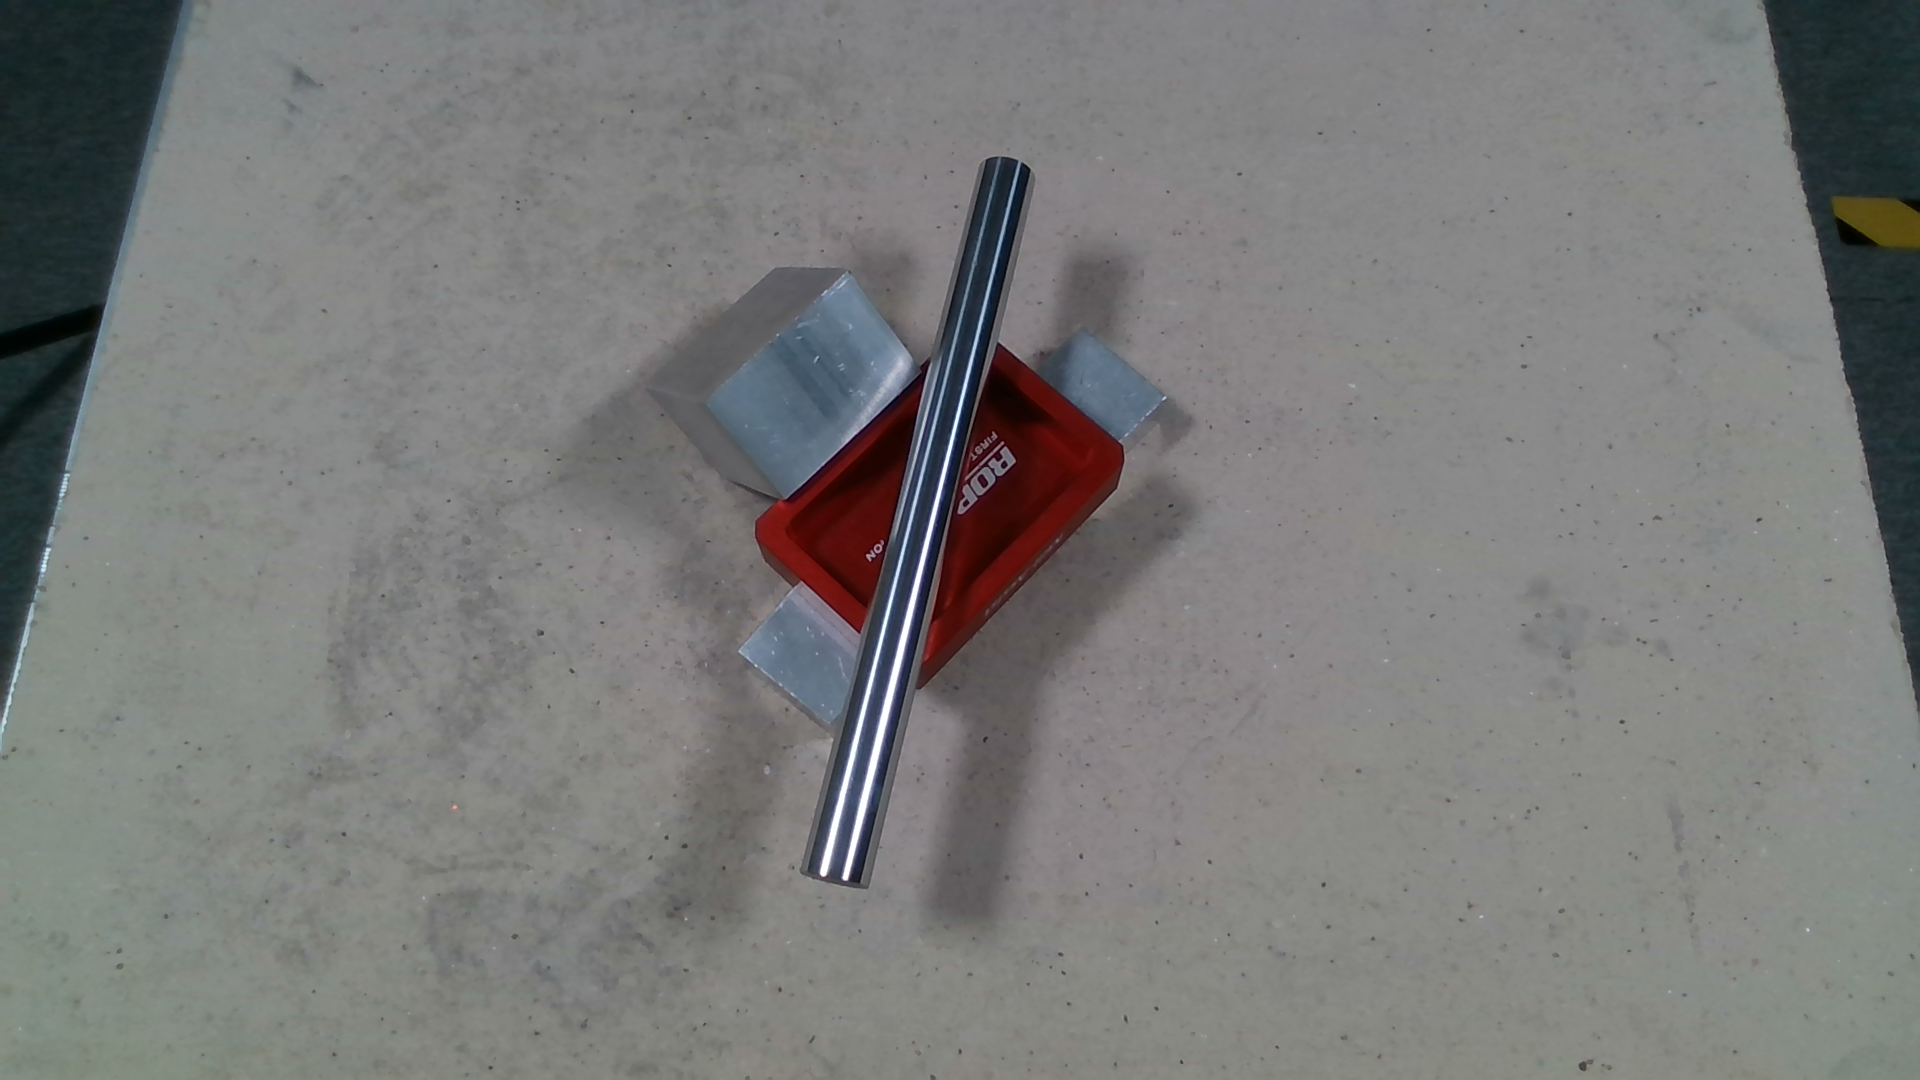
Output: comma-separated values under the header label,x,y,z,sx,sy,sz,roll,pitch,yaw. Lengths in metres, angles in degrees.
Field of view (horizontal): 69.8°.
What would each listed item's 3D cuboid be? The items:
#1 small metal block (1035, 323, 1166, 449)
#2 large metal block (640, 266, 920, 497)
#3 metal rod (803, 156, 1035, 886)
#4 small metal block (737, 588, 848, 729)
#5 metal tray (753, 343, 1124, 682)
label,x,y,z,sx,sy,sz,roll,pitch,yaw
small metal block,0.054,-0.058,0.609,0.050,0.025,0.050,43,76,14
large metal block,-0.076,-0.069,0.575,0.080,0.080,0.050,-45,118,-15
metal rod,-0.012,-0.018,0.536,0.025,0.025,0.299,12,71,4
small metal block,-0.056,0.045,0.572,0.050,0.025,0.050,37,74,12
metal tray,-0.008,-0.015,0.564,0.090,0.030,0.130,42,75,13
